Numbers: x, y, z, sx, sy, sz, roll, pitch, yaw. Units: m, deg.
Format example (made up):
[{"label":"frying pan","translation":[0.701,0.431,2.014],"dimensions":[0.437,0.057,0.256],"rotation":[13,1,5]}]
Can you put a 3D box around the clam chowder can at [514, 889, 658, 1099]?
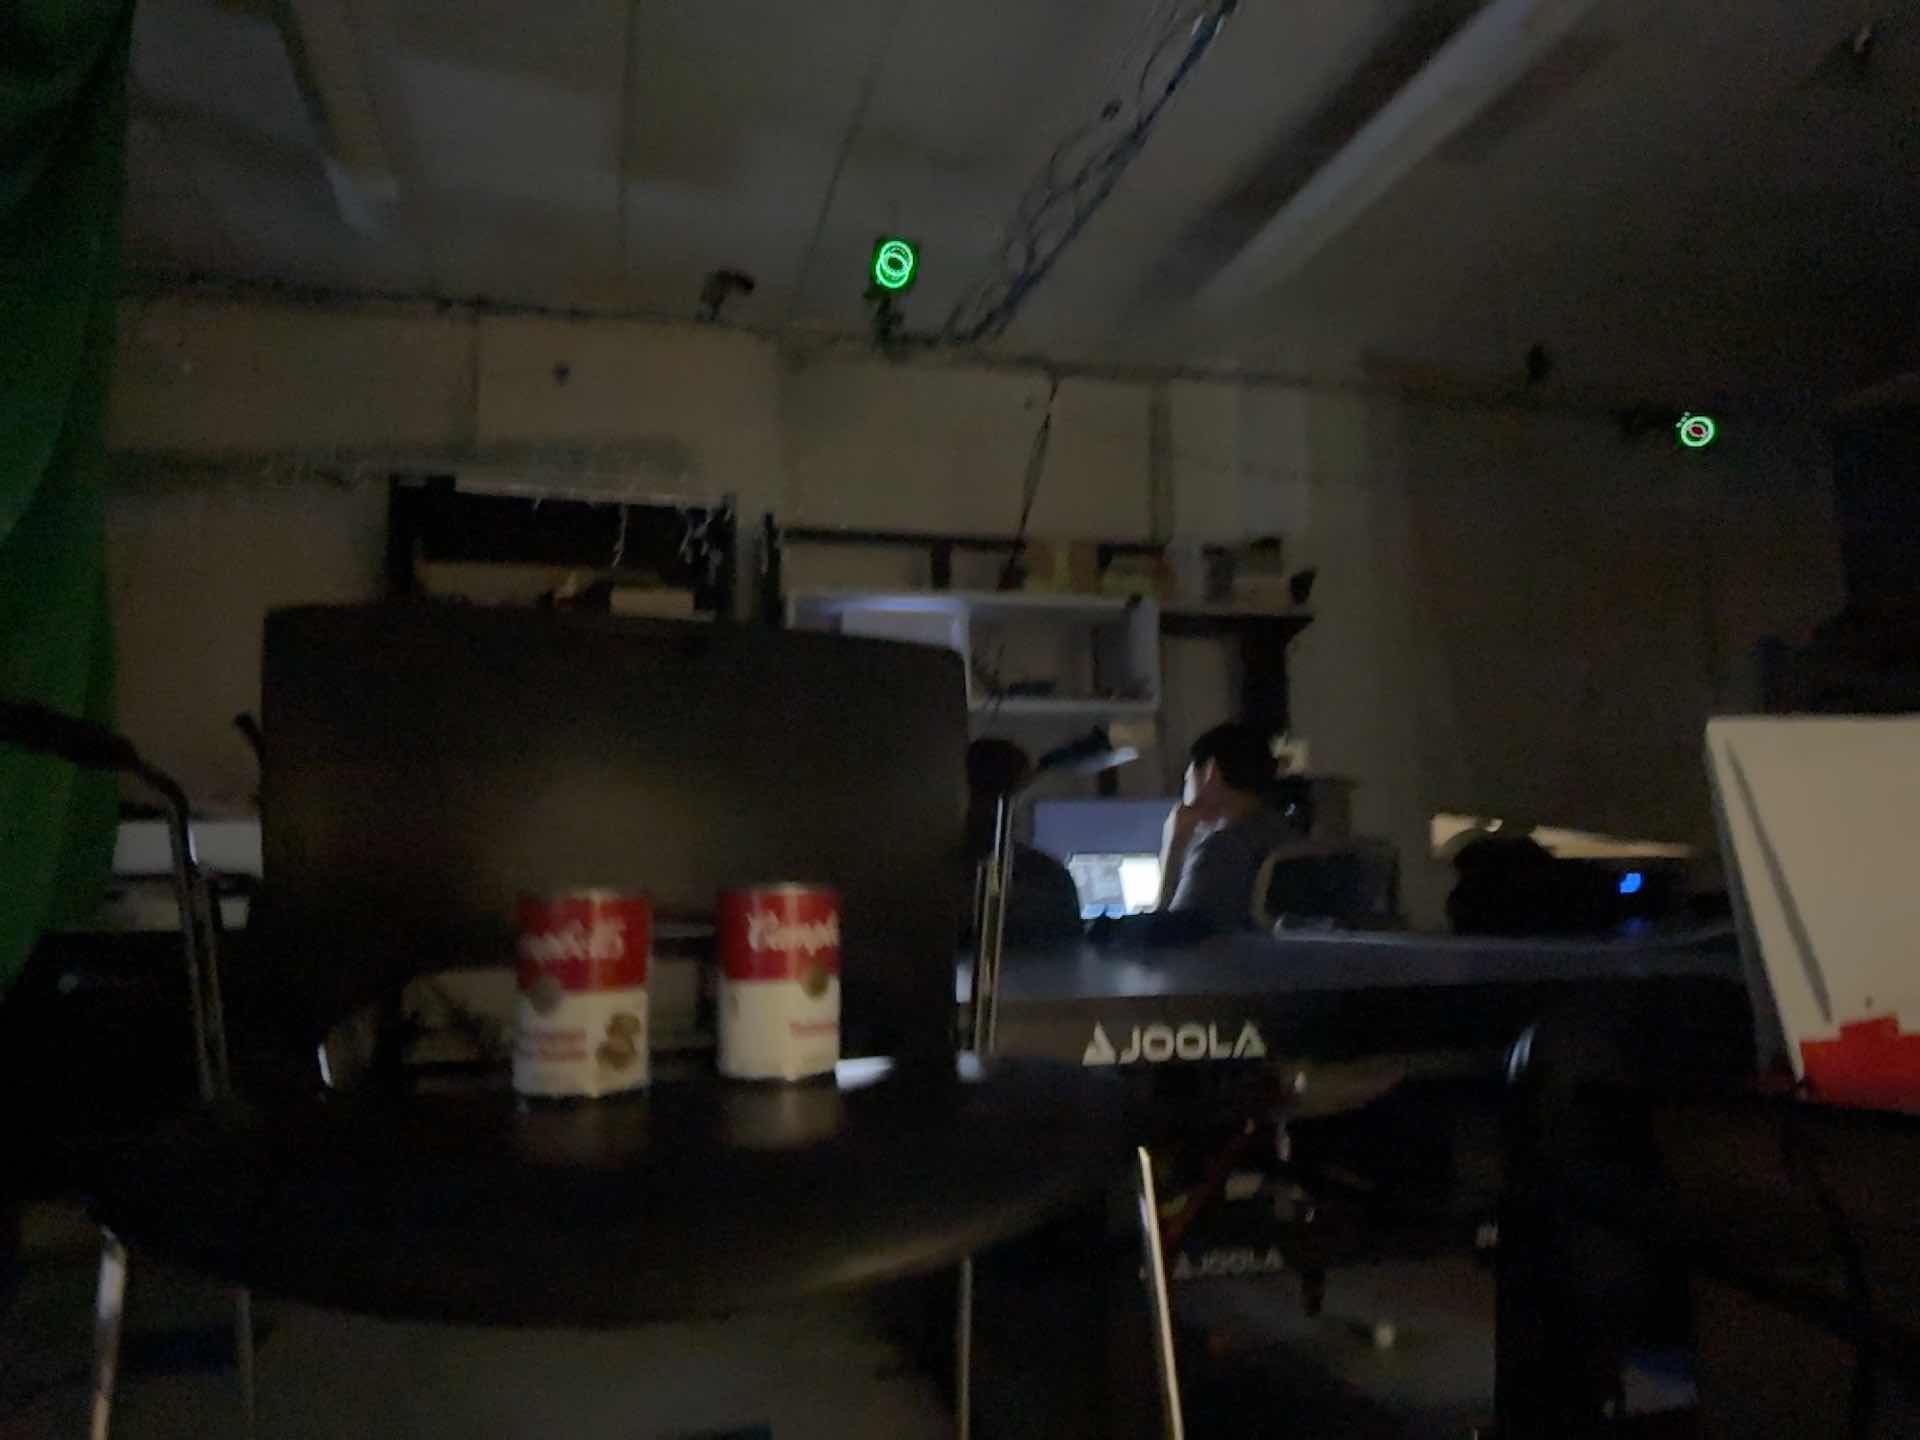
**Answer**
[{"label":"clam chowder can","translation":[-0.194,0.140,0.700],"dimensions":[0.068,0.102,0.068],"rotation":[1,-6,0]}]

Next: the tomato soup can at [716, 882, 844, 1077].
[{"label":"tomato soup can","translation":[-0.099,0.139,0.734],"dimensions":[0.067,0.102,0.067],"rotation":[1,-7,0]}]
